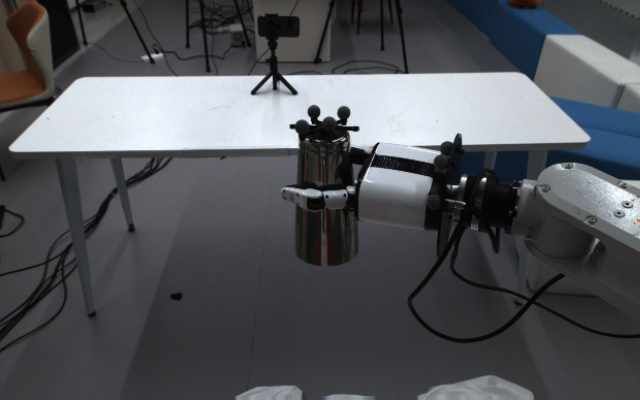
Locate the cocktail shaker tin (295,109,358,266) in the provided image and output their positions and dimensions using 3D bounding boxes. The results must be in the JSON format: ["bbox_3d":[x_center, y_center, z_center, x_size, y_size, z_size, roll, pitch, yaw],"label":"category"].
[{"bbox_3d":[0.010,-0.008,0.653,0.093,0.170,0.093,-1,26,1],"label":"cocktail shaker tin"}]
